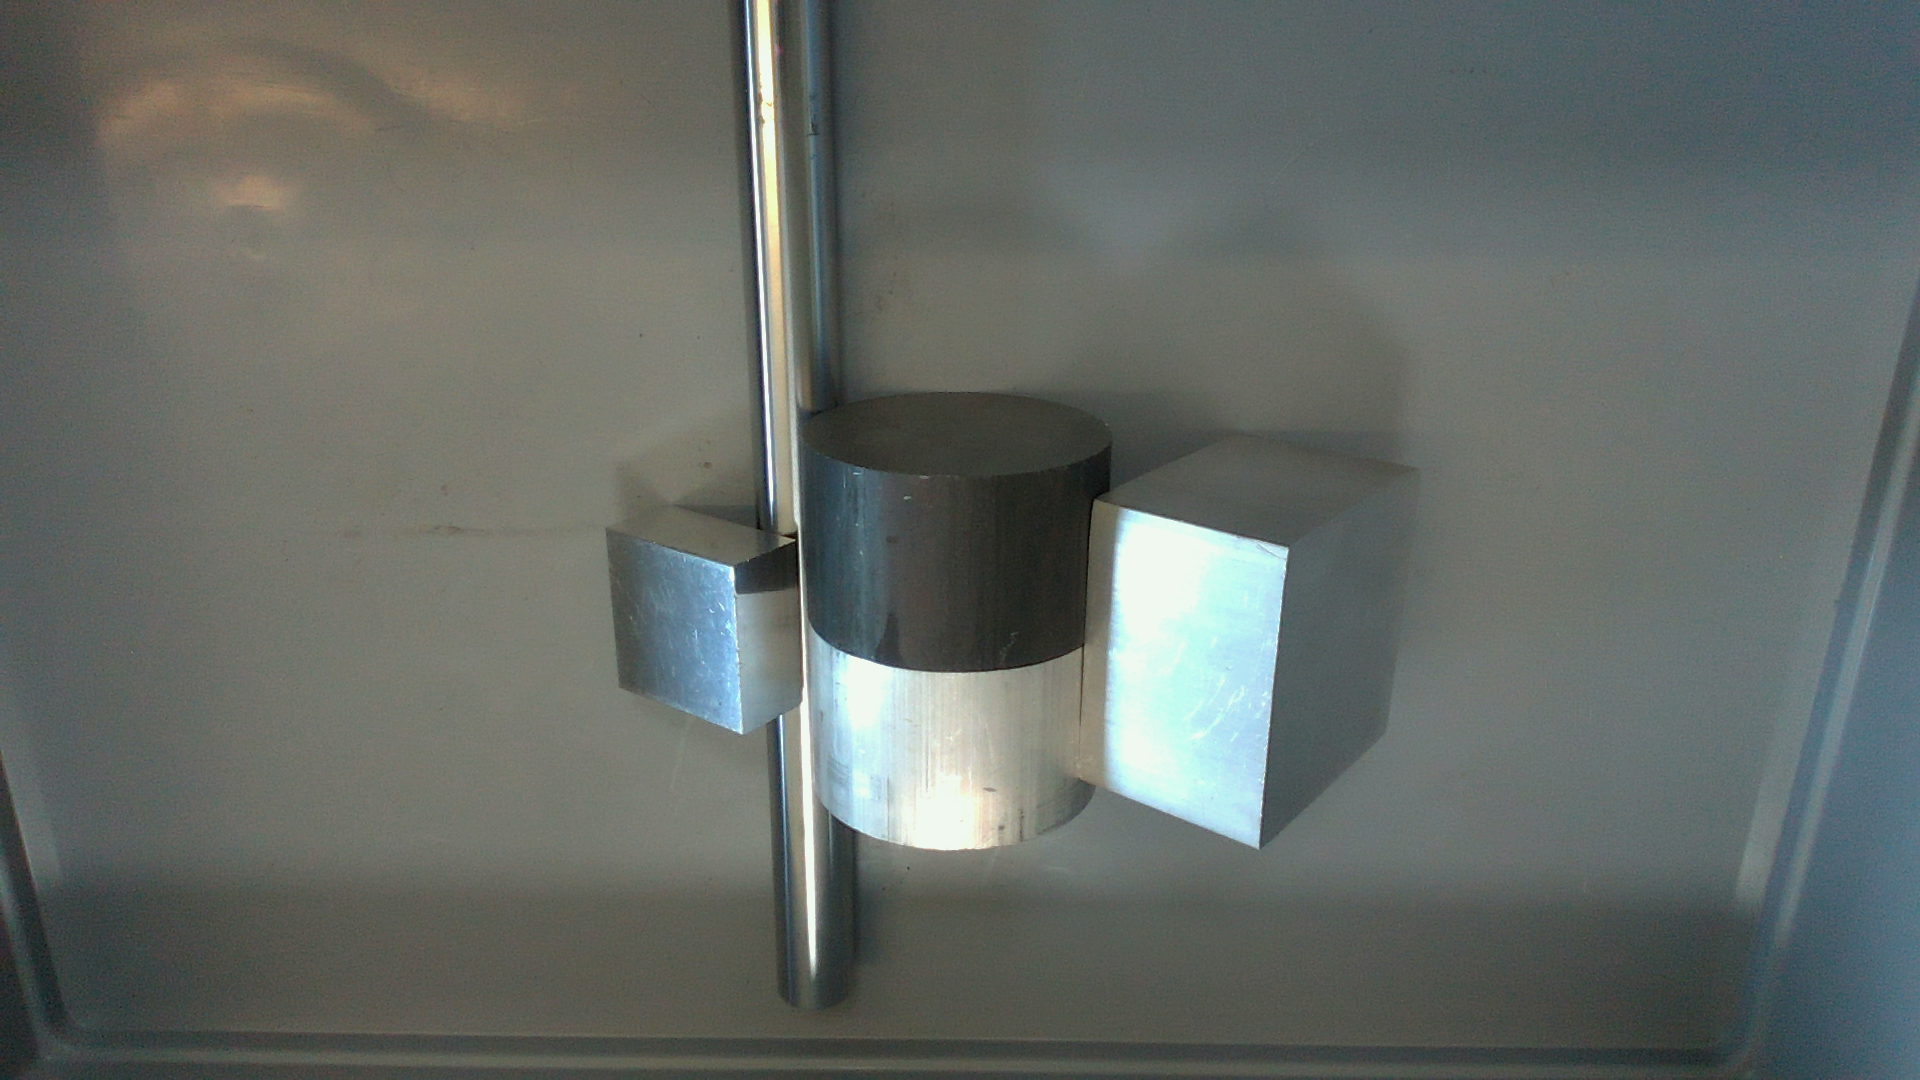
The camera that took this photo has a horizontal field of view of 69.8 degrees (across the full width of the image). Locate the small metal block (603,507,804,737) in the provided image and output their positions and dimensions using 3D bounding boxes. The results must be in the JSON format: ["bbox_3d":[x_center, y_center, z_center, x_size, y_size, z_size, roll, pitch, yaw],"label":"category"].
[{"bbox_3d":[-0.072,0.022,0.388,0.050,0.025,0.050,13,113,32],"label":"small metal block"}]

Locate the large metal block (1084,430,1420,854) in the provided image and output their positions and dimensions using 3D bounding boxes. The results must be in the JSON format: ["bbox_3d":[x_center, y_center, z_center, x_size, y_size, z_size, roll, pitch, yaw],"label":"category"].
[{"bbox_3d":[0.077,0.022,0.364,0.050,0.080,0.080,16,116,35],"label":"large metal block"}]

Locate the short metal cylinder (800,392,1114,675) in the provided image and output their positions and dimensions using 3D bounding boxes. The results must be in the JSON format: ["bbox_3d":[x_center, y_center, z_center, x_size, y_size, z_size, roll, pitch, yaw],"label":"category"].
[{"bbox_3d":[-0.001,-0.005,0.361,0.080,0.080,0.050,0,110,0],"label":"short metal cylinder"}]

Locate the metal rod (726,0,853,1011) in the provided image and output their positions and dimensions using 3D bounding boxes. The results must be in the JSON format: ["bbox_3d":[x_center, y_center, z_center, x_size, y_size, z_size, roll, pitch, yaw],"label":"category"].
[{"bbox_3d":[-0.046,0.003,0.393,0.025,0.025,0.300,0,110,0],"label":"metal rod"}]

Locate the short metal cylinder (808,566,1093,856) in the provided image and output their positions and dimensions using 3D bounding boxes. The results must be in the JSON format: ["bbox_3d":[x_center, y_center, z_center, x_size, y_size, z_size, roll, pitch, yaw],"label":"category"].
[{"bbox_3d":[-0.001,0.043,0.379,0.080,0.080,0.050,0,110,0],"label":"short metal cylinder"}]
